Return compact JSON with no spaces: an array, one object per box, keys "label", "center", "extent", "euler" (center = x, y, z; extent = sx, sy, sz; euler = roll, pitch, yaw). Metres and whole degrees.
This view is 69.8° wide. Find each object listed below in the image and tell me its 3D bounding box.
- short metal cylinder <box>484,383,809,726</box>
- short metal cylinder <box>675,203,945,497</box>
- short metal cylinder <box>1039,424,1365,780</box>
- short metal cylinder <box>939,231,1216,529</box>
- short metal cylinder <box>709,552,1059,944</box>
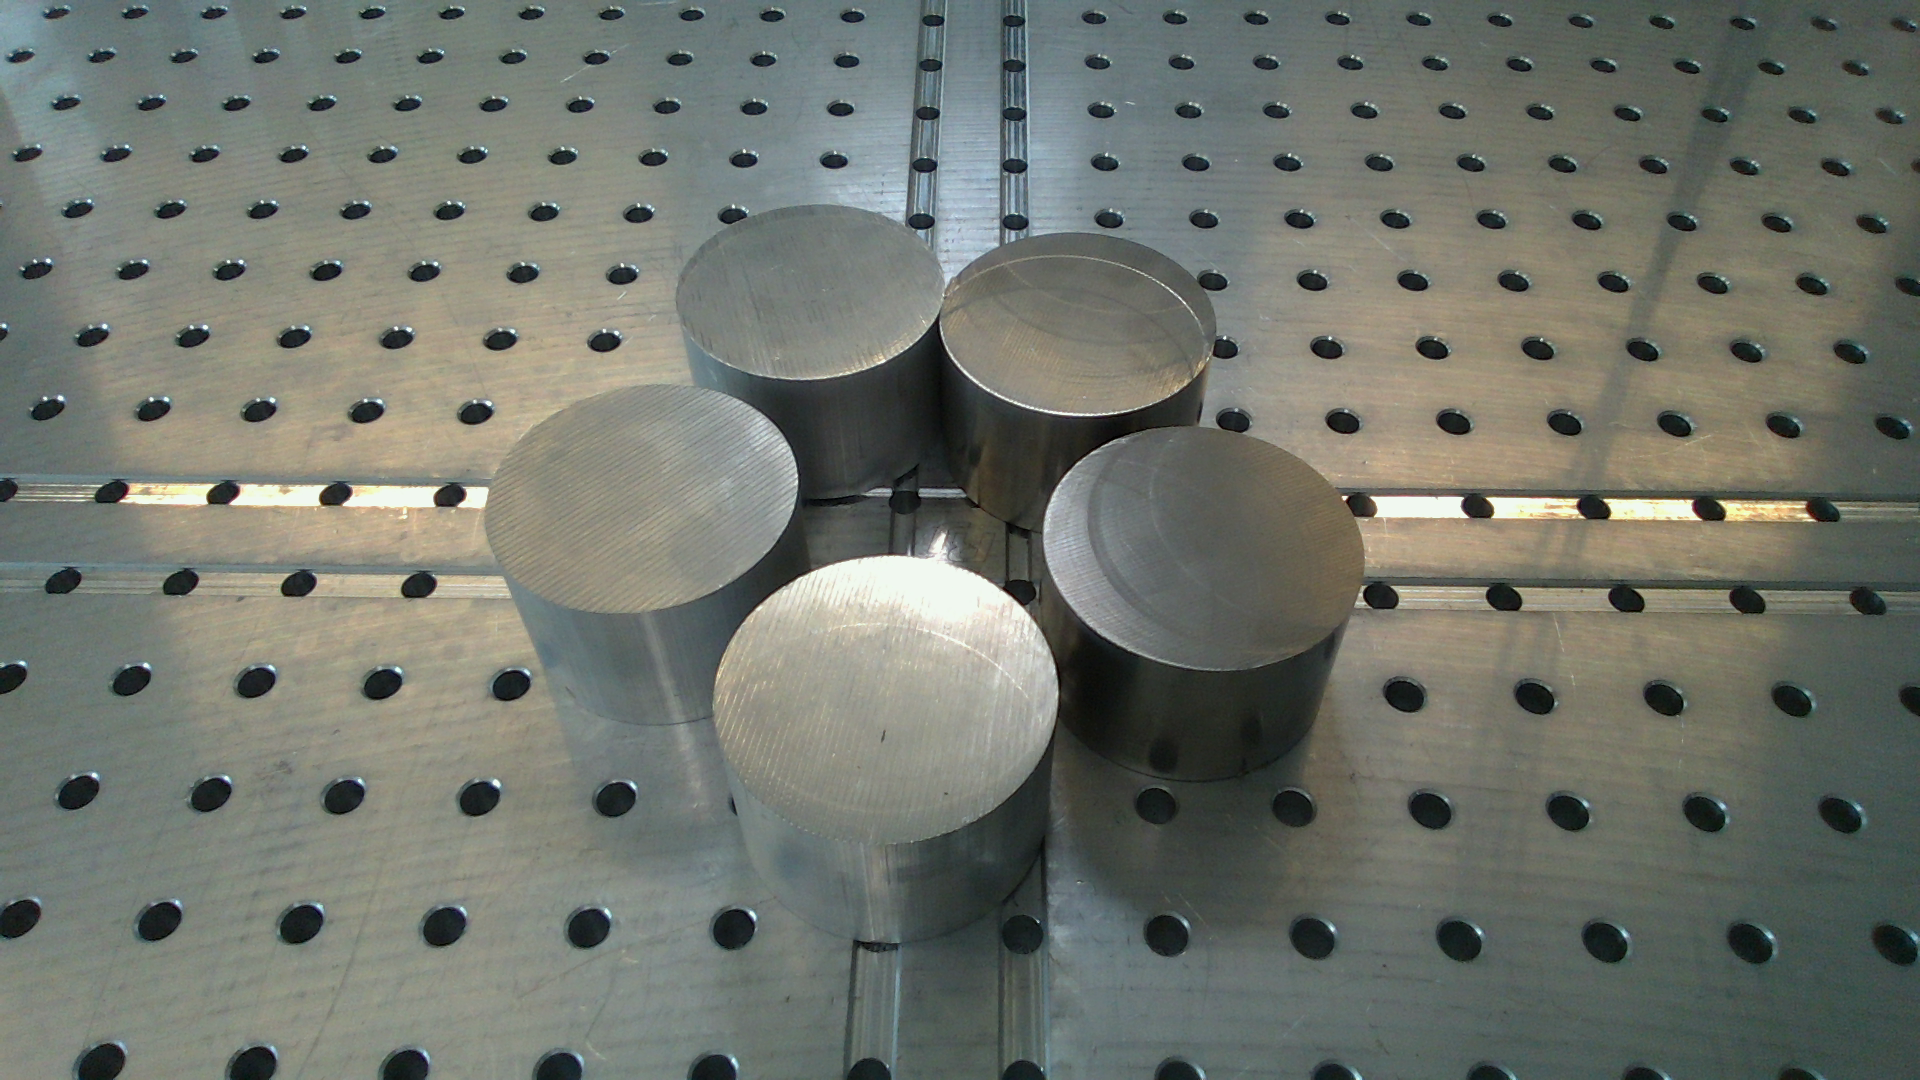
[{"label":"short metal cylinder","center":[-0.082,0.003,0.375],"extent":[0.080,0.050,0.080],"euler":[0,50,0]},{"label":"short metal cylinder","center":[-0.044,-0.060,0.428],"extent":[0.080,0.050,0.080],"euler":[0,50,0]},{"label":"short metal cylinder","center":[0.061,0.016,0.364],"extent":[0.080,0.050,0.080],"euler":[0,51,0]},{"label":"short metal cylinder","center":[0.034,-0.049,0.418],"extent":[0.080,0.050,0.080],"euler":[0,50,0]},{"label":"short metal cylinder","center":[-0.017,0.050,0.335],"extent":[0.080,0.050,0.080],"euler":[0,49,1]}]
